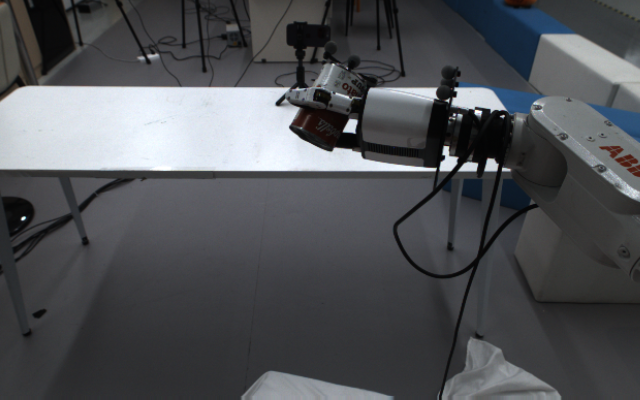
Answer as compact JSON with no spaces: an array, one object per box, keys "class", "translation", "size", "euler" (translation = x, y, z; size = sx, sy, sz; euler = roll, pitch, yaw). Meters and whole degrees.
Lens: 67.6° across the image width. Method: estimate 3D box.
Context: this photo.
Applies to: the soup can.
[{"class":"soup can","translation":[0.012,-0.126,0.654],"size":[0.067,0.101,0.067],"euler":[29,-2,1]}]
